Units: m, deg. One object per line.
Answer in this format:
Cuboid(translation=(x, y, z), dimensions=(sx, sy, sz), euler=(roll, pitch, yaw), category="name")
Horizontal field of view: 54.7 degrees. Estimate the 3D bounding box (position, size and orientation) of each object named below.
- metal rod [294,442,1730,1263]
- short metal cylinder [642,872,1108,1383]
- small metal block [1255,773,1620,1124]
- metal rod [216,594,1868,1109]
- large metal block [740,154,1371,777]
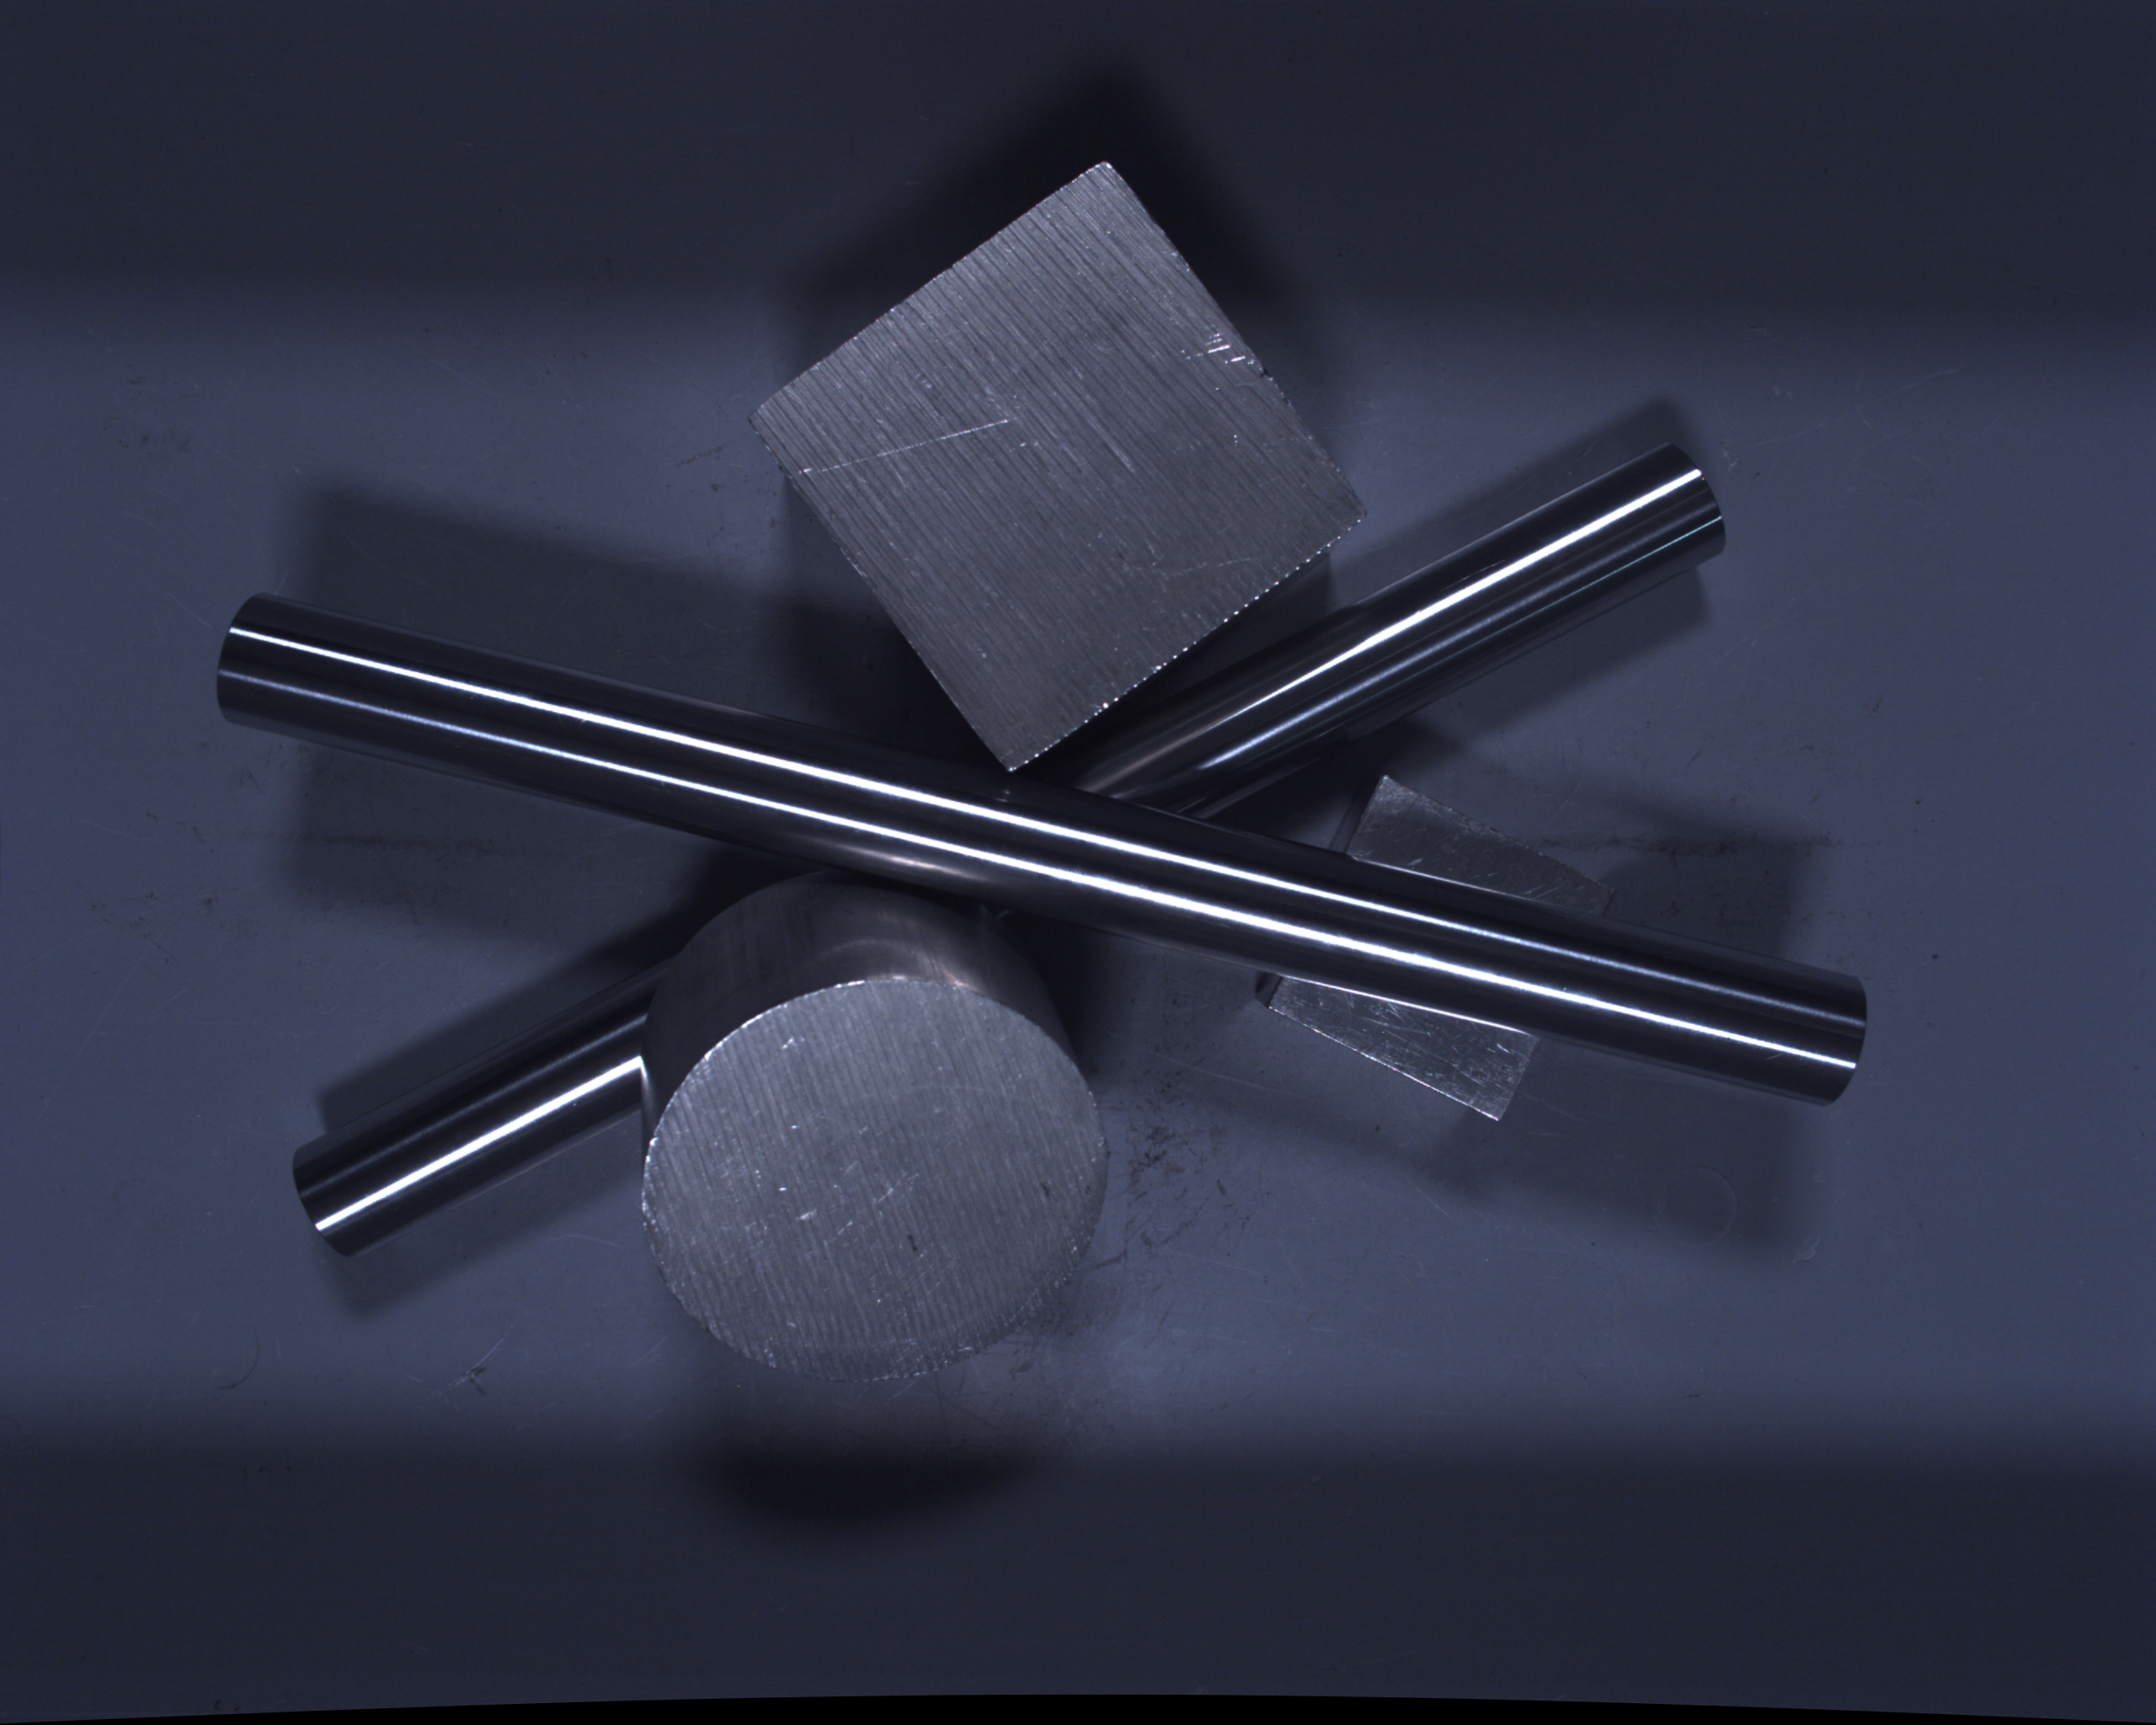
Cuboid(translation=(-0.012, -0.002, 0.409), dimensions=(0.301, 0.025, 0.025), euler=(-27, 90, -1), category="metal rod")
Cuboid(translation=(-0.039, 0.047, 0.383), dimensions=(0.081, 0.050, 0.079), euler=(-5, 112, -11), category="short metal cylinder")
Cuboid(translation=(0.069, 0.016, 0.409), dimensions=(0.050, 0.025, 0.050), euler=(27, 90, -1), category="small metal block")
Cuboid(translation=(-0.006, -0.002, 0.385), dimensions=(0.302, 0.025, 0.025), euler=(14, 90, -1), category="metal rod")
Cuboid(translation=(-0.004, -0.071, 0.397), dimensions=(0.080, 0.050, 0.080), euler=(-36, 90, 0), category="large metal block")
